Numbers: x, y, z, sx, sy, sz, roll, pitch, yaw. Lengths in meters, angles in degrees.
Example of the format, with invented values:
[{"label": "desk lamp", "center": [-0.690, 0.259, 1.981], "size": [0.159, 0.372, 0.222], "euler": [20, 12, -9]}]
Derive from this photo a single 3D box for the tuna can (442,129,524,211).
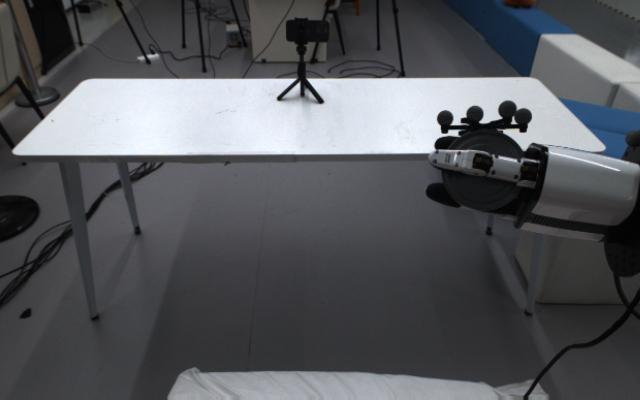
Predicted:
[{"label": "tuna can", "center": [0.177, -0.034, 0.522], "size": [0.085, 0.085, 0.034], "euler": [13, -1, 15]}]
